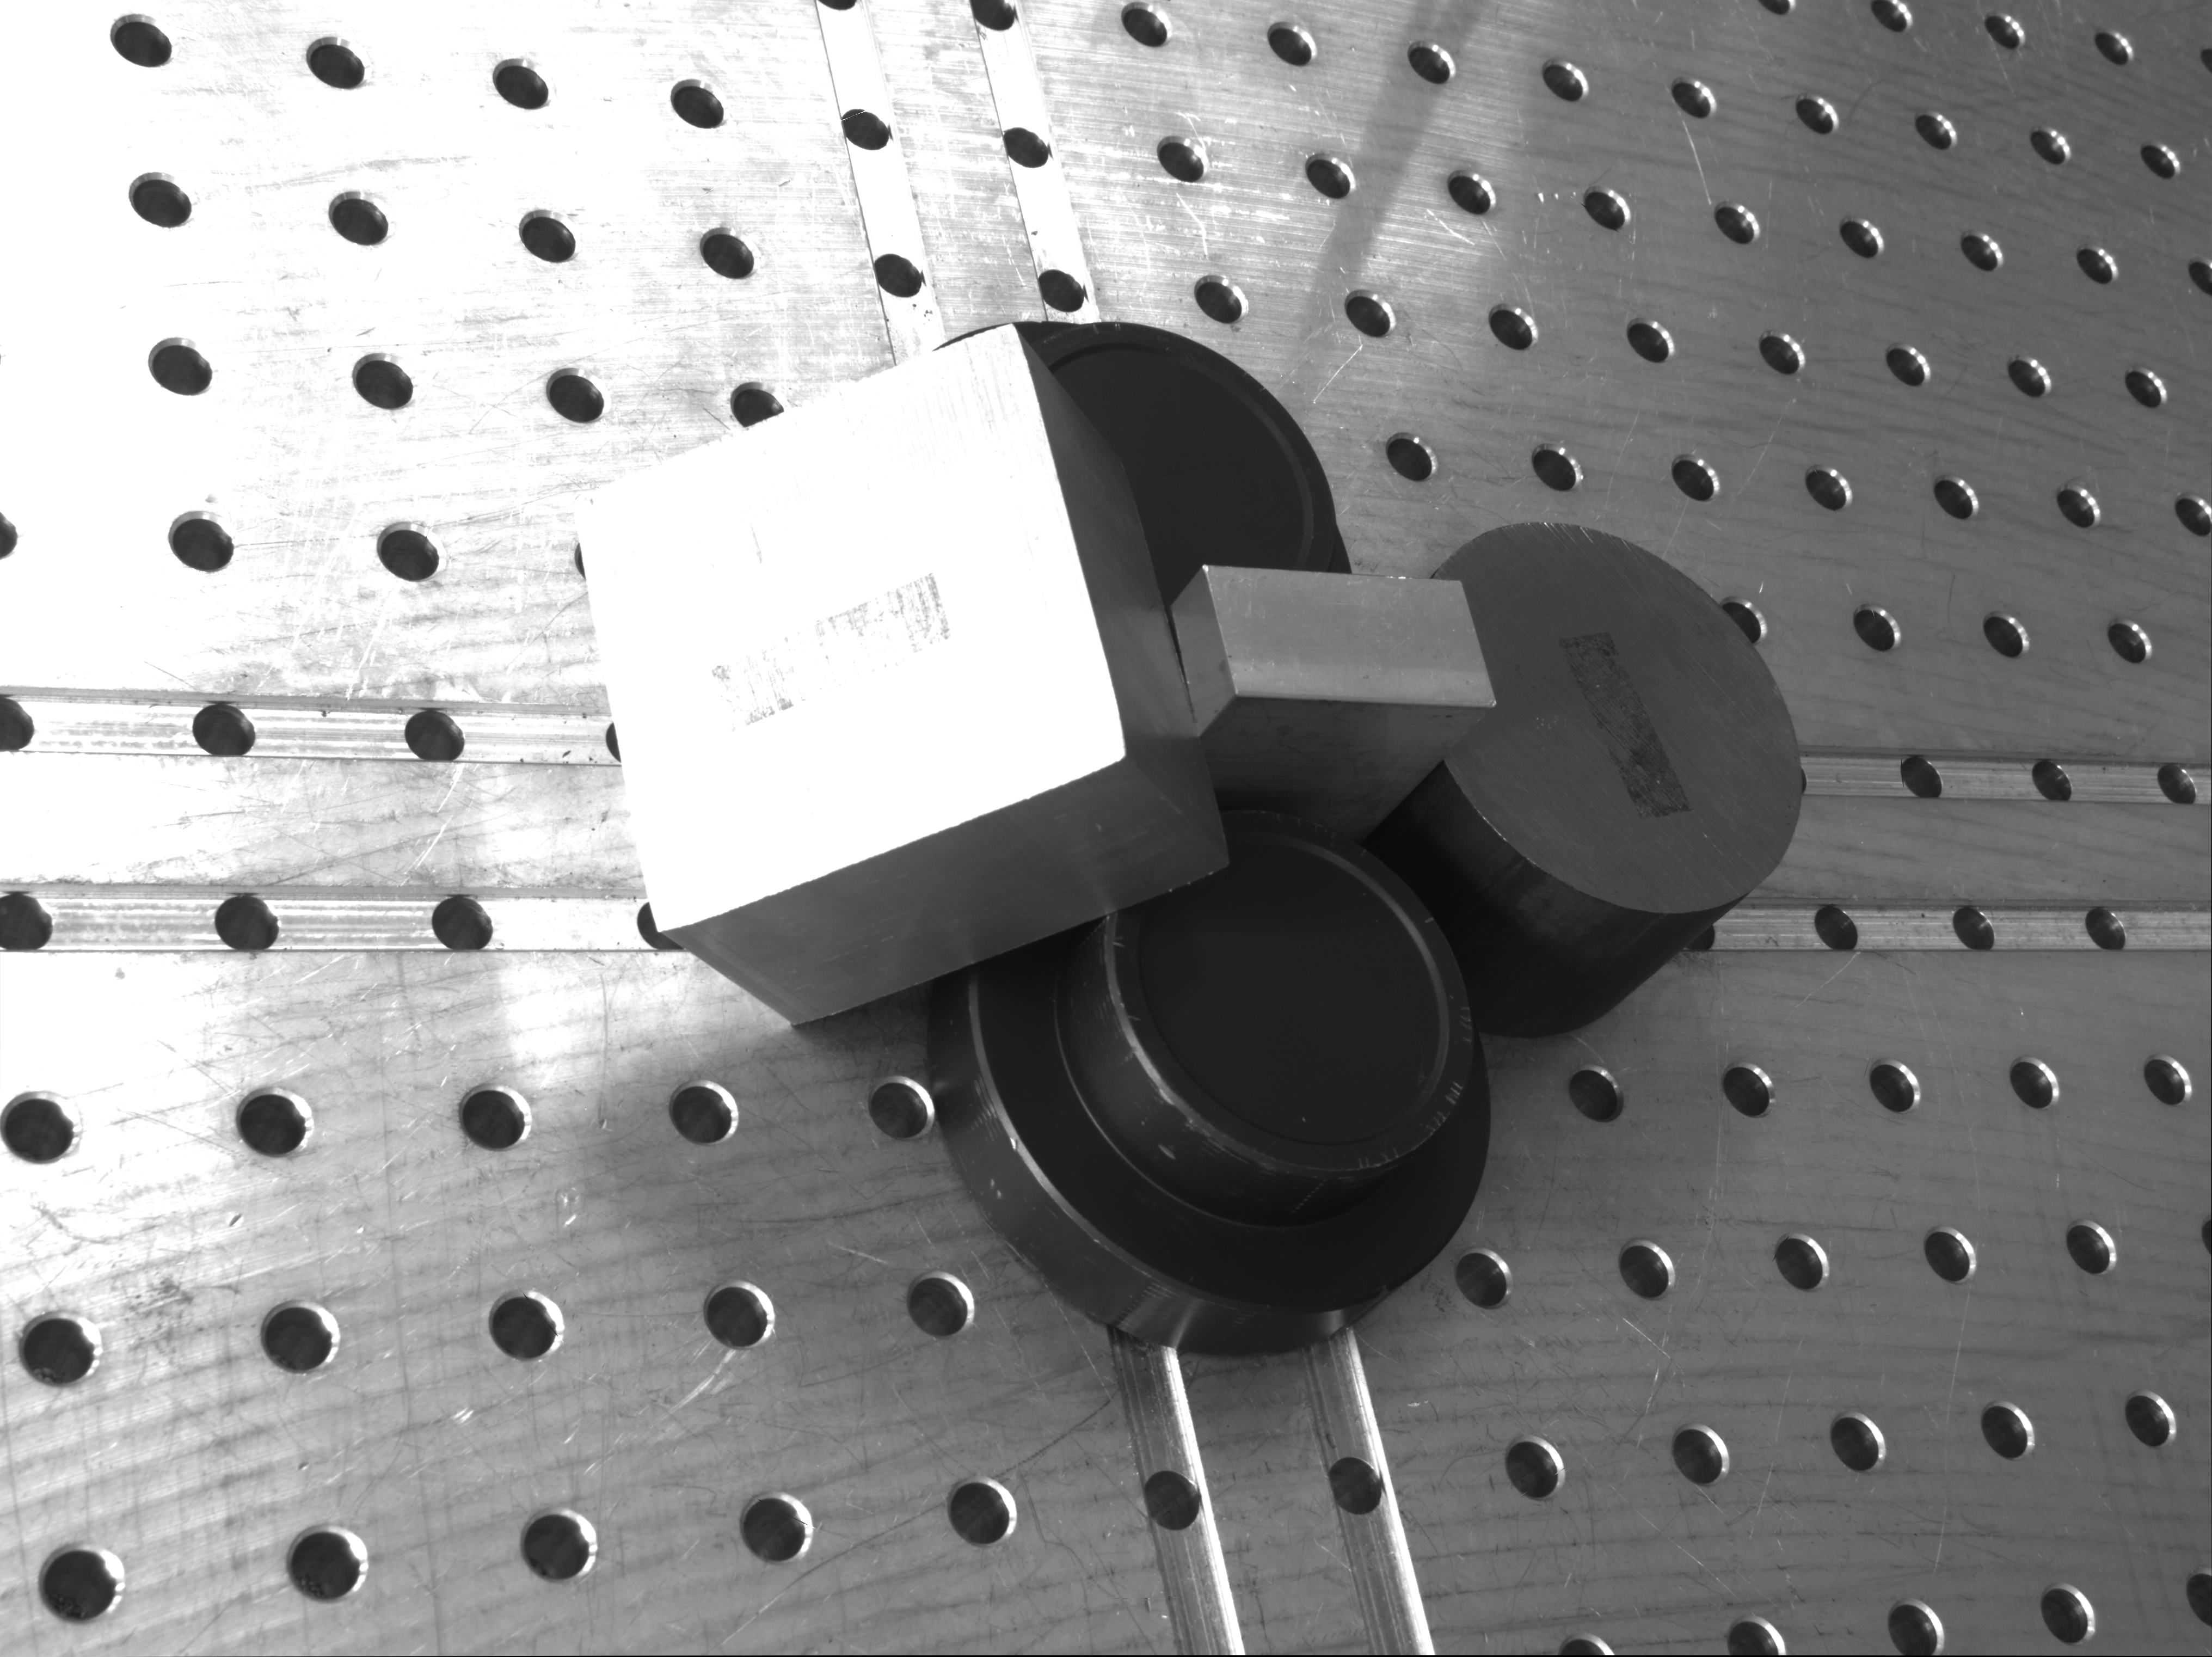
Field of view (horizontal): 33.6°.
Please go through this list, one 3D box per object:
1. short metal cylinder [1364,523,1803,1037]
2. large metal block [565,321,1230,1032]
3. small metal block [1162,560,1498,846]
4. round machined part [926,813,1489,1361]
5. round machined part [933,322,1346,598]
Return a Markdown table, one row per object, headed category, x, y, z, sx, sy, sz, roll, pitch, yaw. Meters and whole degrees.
| category | x | y | z | sx | sy | sz | roll | pitch | yaw |
| --- | --- | --- | --- | --- | --- | --- | --- | --- | --- |
| short metal cylinder | 0.080 | -0.009 | 0.673 | 0.080 | 0.050 | 0.080 | 14 | 56 | -21 |
| large metal block | -0.034 | -0.023 | 0.595 | 0.050 | 0.080 | 0.080 | 44 | 28 | -62 |
| small metal block | 0.031 | -0.020 | 0.626 | 0.050 | 0.050 | 0.025 | 2 | 61 | -27 |
| round machined part | 0.022 | 0.037 | 0.621 | 0.098 | 0.042 | 0.098 | 14 | 56 | -21 |
| round machined part | 0.002 | -0.052 | 0.664 | 0.098 | 0.042 | 0.098 | 14 | 56 | -21 |
